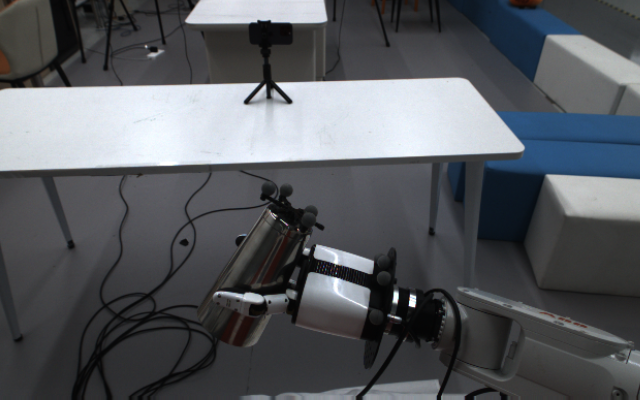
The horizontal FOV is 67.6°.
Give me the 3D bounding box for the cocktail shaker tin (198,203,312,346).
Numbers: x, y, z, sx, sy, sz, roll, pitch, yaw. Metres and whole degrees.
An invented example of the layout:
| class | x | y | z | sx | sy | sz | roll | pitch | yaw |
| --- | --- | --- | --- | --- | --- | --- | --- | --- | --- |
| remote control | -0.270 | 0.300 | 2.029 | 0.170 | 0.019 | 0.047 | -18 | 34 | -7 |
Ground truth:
| class | x | y | z | sx | sy | sz | roll | pitch | yaw |
| --- | --- | --- | --- | --- | --- | --- | --- | --- | --- |
| cocktail shaker tin | -0.077 | 0.090 | 0.621 | 0.093 | 0.170 | 0.093 | 28 | 14 | -7 |
